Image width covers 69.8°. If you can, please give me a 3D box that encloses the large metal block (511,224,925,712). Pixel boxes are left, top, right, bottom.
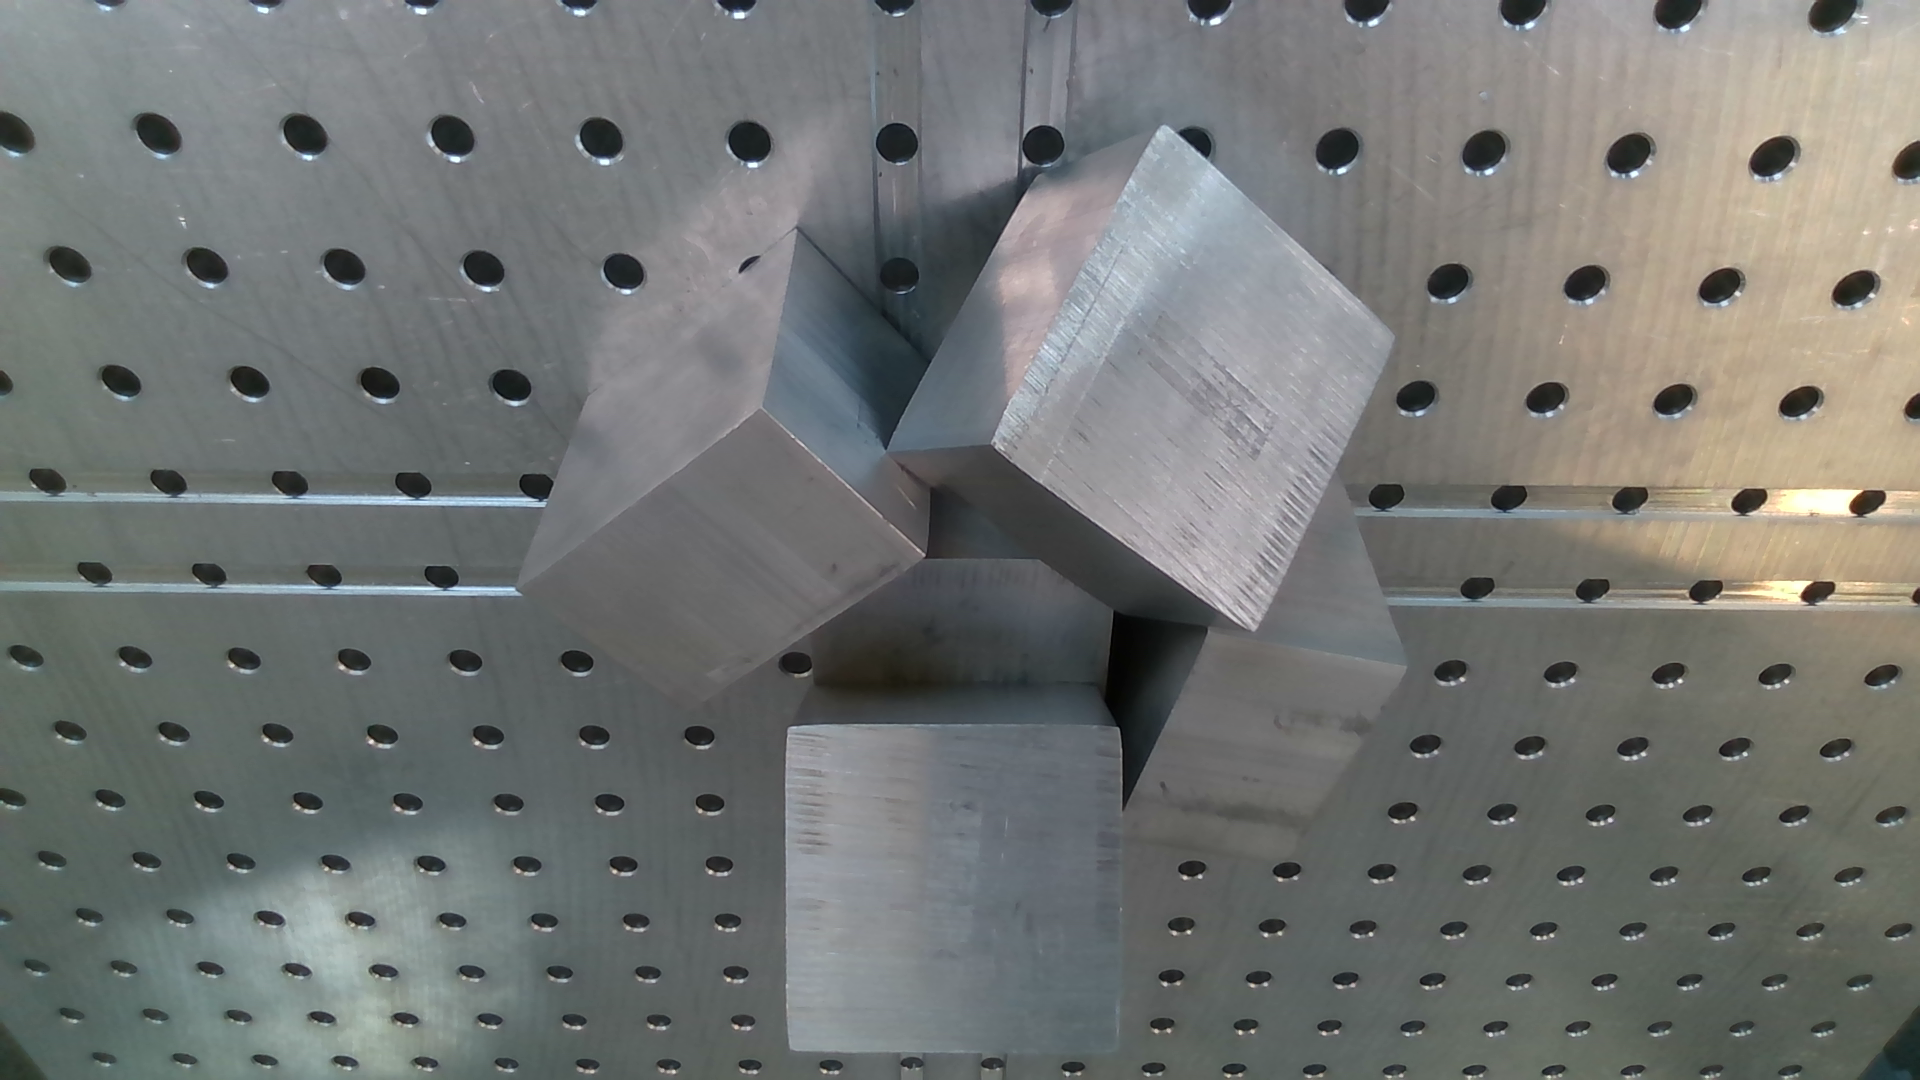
[{"bbox_3d":[-0.055,-0.018,0.338,0.080,0.080,0.050,-32,124,25],"label":"large metal block"}]

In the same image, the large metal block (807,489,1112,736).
[{"bbox_3d":[-0.001,0.018,0.390,0.080,0.050,0.080,1,130,-1],"label":"large metal block"}]

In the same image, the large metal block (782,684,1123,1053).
[{"bbox_3d":[-0.002,0.081,0.353,0.080,0.050,0.080,0,96,-1],"label":"large metal block"}]

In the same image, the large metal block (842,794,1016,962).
[{"bbox_3d":[-0.002,0.091,0.421,0.080,0.080,0.050,0,92,0],"label":"large metal block"}]

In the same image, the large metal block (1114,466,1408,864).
[{"bbox_3d":[0.073,0.029,0.380,0.050,0.080,0.080,10,129,-9],"label":"large metal block"}]

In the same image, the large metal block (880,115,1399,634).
[{"bbox_3d":[0.042,-0.035,0.318,0.080,0.080,0.050,34,167,-25],"label":"large metal block"}]
